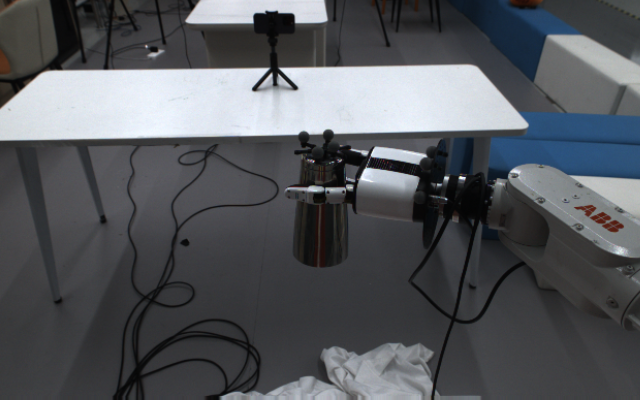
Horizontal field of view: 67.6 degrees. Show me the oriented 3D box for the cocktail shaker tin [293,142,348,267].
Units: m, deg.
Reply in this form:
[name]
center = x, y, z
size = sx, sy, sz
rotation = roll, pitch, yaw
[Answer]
[cocktail shaker tin]
center = 0.005, 0.005, 0.761
size = 0.093, 0.170, 0.093
rotation = 1, 27, -1
